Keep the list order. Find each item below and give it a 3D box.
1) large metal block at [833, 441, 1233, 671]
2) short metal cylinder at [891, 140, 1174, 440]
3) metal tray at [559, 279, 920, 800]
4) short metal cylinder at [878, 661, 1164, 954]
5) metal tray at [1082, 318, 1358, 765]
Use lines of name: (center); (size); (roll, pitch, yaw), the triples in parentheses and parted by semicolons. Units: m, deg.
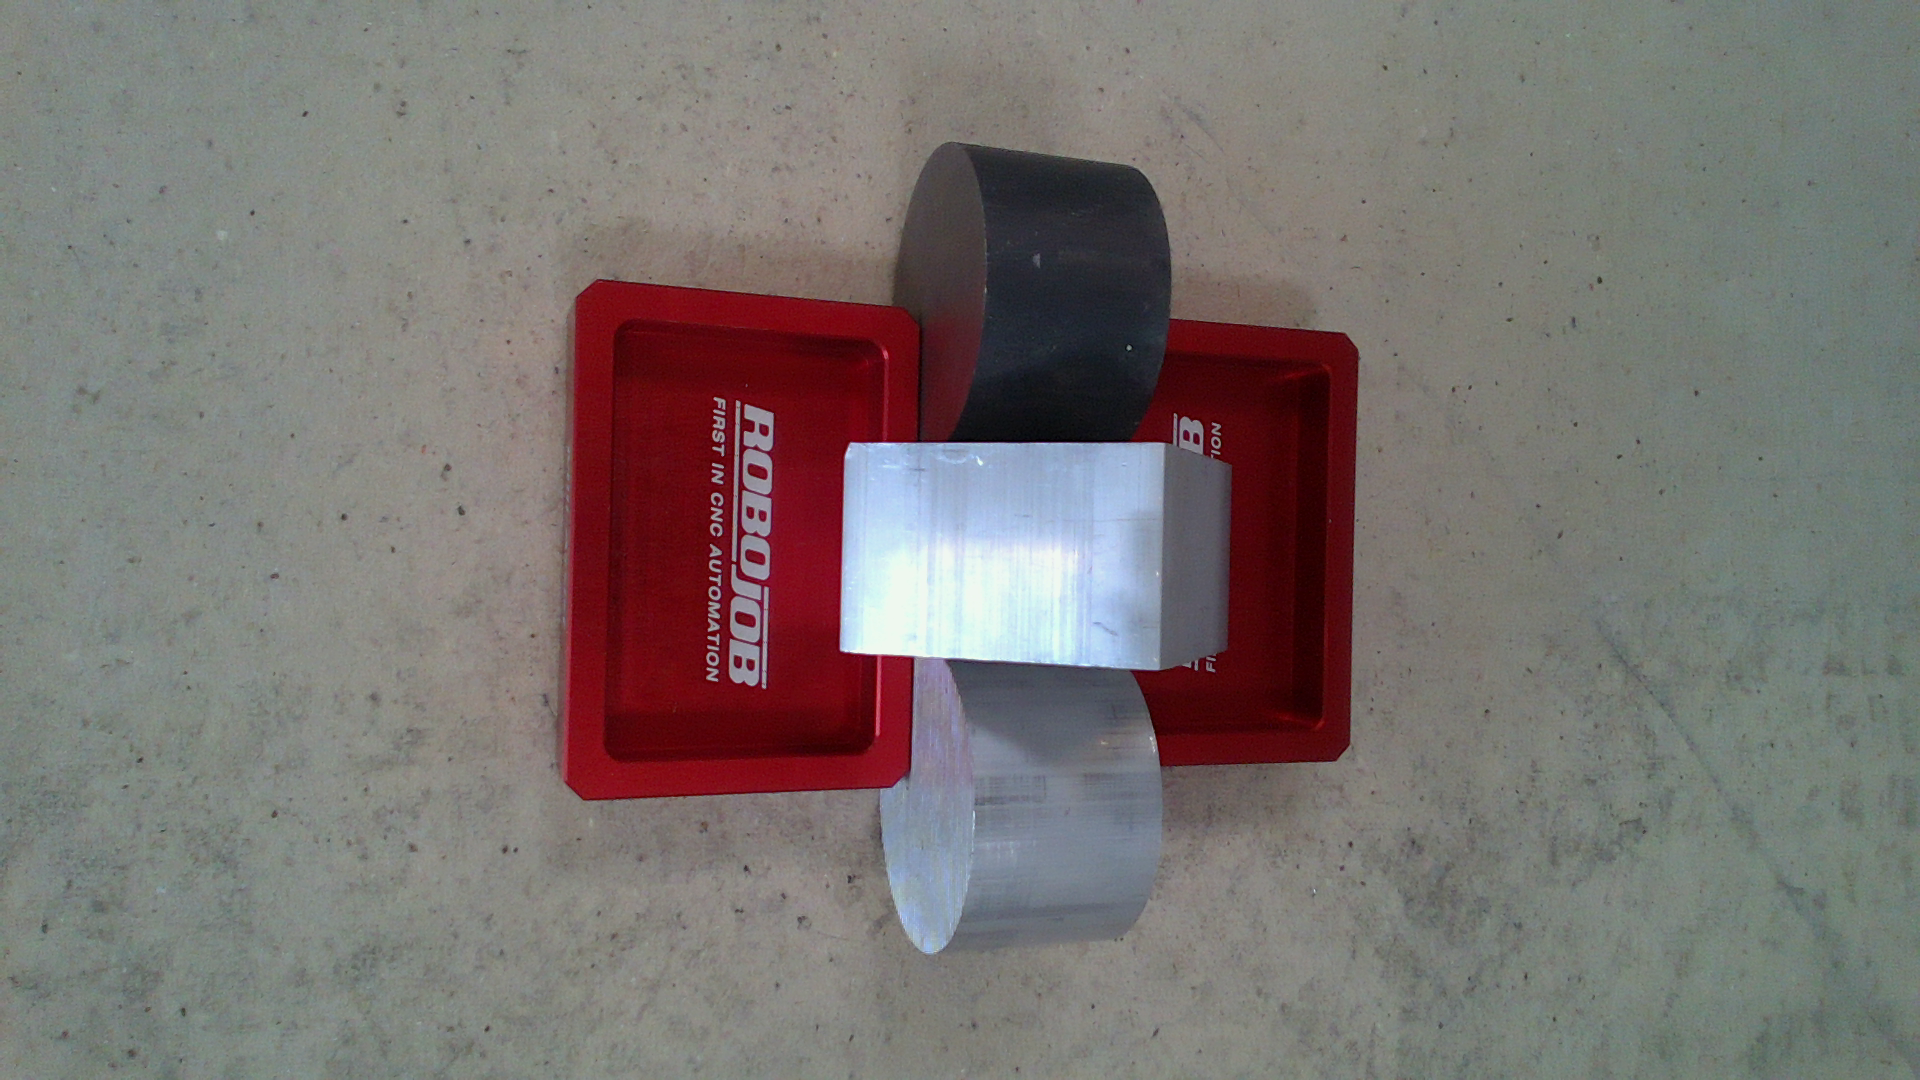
large metal block: (0.022, 0.003, 0.351); (0.080, 0.080, 0.050); (2, 90, 20)
short metal cylinder: (0.016, -0.063, 0.370); (0.050, 0.080, 0.080); (2, 89, -20)
metal tray: (-0.059, 0.001, 0.370); (0.090, 0.030, 0.130); (2, 90, -20)
short metal cylinder: (0.013, 0.068, 0.369); (0.050, 0.080, 0.080); (2, 89, -20)
metal tray: (0.073, 0.001, 0.418); (0.090, 0.030, 0.130); (2, 90, -20)
